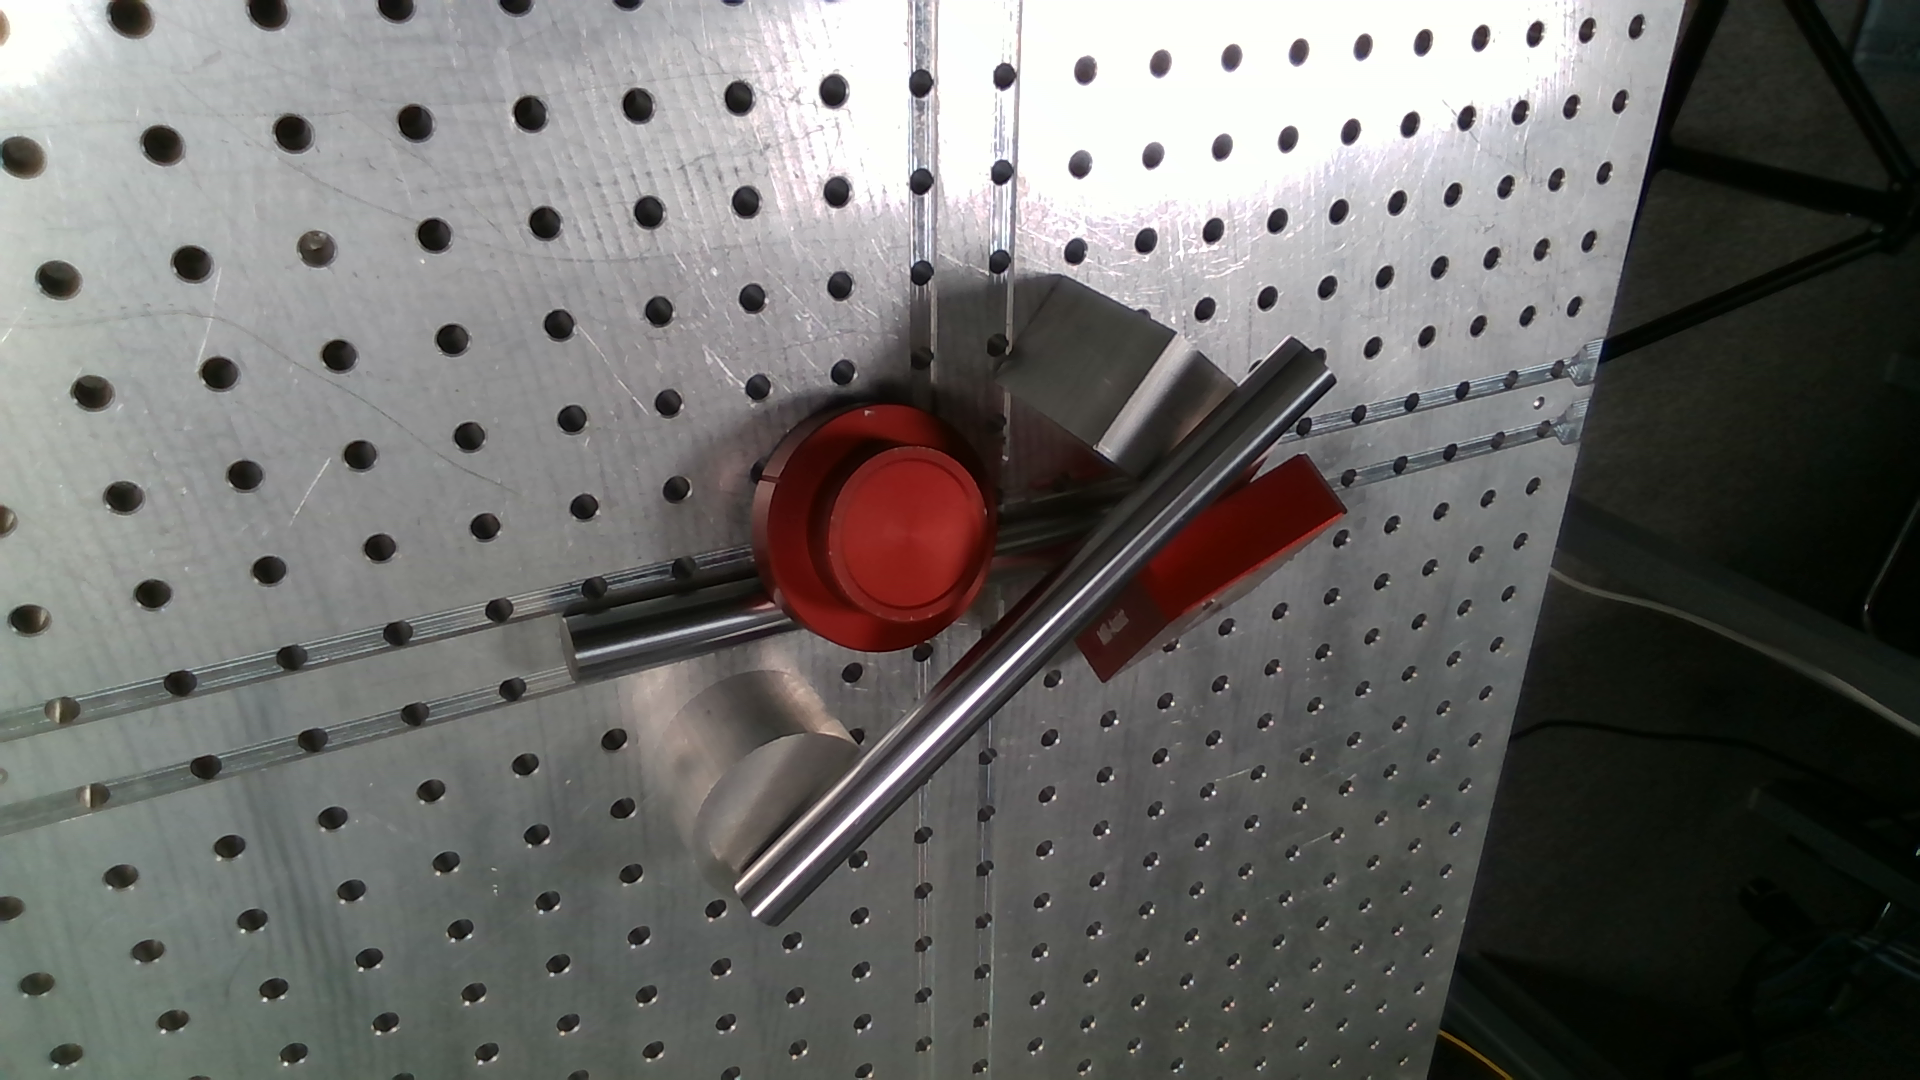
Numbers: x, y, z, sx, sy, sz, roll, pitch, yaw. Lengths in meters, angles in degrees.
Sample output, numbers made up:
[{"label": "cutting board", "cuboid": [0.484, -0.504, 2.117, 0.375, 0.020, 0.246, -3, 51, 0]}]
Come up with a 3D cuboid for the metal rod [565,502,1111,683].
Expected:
[{"label": "metal rod", "cuboid": [-0.014, 0.013, 0.582, 0.300, 0.025, 0.025, -12, 120, -26]}]

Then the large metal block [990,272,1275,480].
[{"label": "large metal block", "cuboid": [0.073, -0.057, 0.563, 0.080, 0.080, 0.050, 32, 96, -39]}]

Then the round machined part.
[{"label": "round machined part", "cuboid": [-0.028, -0.003, 0.533, 0.098, 0.042, 0.098, -5, 100, -27]}]

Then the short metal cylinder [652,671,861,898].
[{"label": "short metal cylinder", "cuboid": [-0.082, 0.102, 0.573, 0.080, 0.050, 0.080, -14, 122, -25]}]

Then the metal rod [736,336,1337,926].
[{"label": "metal rod", "cuboid": [0.025, 0.038, 0.529, 0.300, 0.025, 0.025, -45, 130, 7]}]

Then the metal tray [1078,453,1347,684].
[{"label": "metal tray", "cuboid": [0.103, 0.016, 0.602, 0.090, 0.030, 0.130, -30, 169, -15]}]
